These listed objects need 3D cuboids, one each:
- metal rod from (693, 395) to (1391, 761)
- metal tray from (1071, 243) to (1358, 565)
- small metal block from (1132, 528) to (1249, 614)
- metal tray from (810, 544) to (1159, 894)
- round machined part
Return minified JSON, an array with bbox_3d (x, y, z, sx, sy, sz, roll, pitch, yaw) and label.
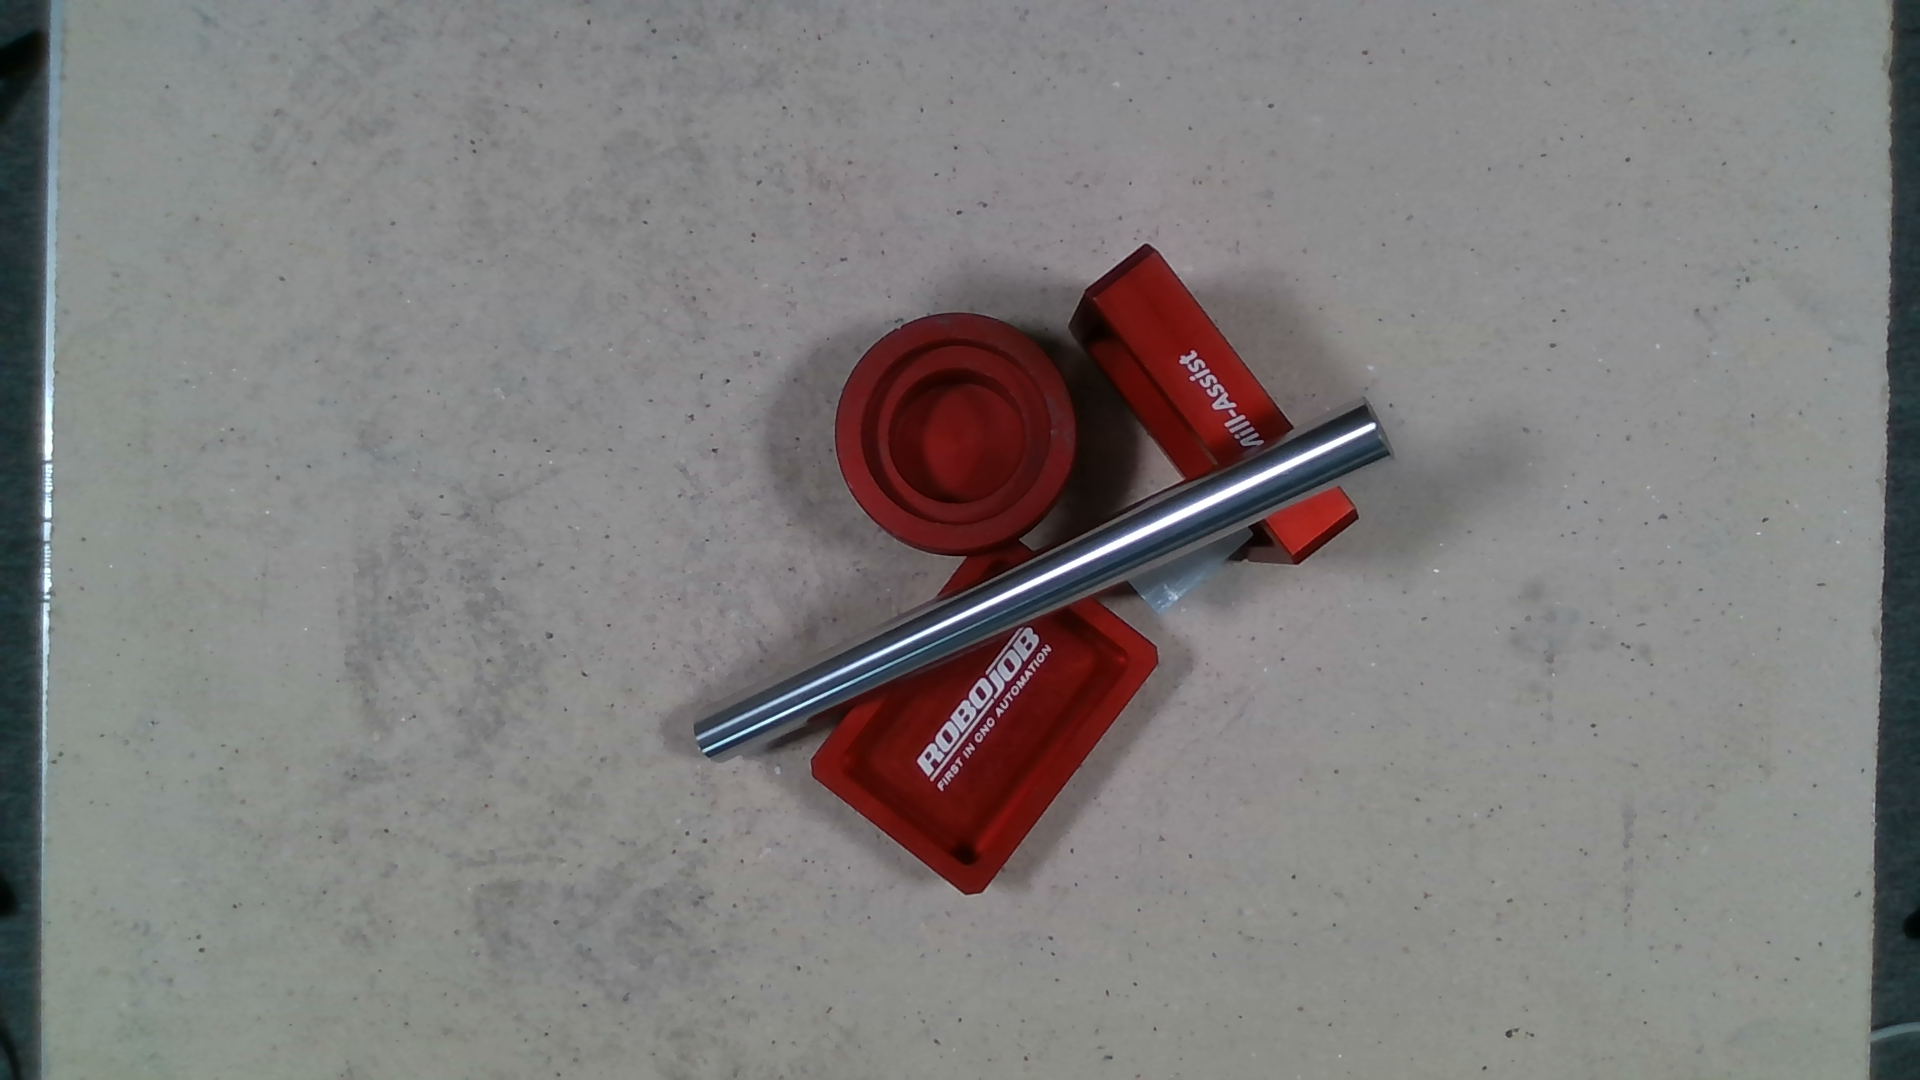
[{"bbox_3d":[0.019,0.022,0.534,0.300,0.025,0.025,-26,90,22],"label":"metal rod"},{"bbox_3d":[0.098,-0.051,0.554,0.030,0.090,0.130,-38,90,0],"label":"metal tray"},{"bbox_3d":[0.094,0.000,0.570,0.050,0.050,0.025,-43,88,14],"label":"small metal block"},{"bbox_3d":[0.010,0.071,0.585,0.090,0.030,0.130,38,90,0],"label":"metal tray"},{"bbox_3d":[-0.001,-0.042,0.575,0.098,0.042,0.098,0,84,3],"label":"round machined part"}]
